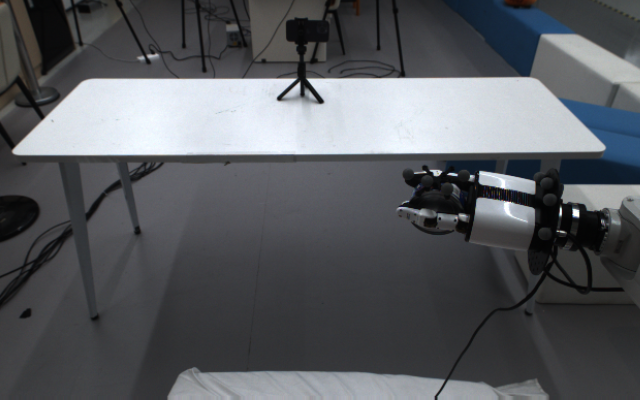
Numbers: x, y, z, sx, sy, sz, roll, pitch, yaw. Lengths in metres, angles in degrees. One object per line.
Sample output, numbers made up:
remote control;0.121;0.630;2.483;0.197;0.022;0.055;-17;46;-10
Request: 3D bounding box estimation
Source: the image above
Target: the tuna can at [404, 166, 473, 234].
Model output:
tuna can;0.181;0.010;0.741;0.085;0.085;0.034;12;39;14
